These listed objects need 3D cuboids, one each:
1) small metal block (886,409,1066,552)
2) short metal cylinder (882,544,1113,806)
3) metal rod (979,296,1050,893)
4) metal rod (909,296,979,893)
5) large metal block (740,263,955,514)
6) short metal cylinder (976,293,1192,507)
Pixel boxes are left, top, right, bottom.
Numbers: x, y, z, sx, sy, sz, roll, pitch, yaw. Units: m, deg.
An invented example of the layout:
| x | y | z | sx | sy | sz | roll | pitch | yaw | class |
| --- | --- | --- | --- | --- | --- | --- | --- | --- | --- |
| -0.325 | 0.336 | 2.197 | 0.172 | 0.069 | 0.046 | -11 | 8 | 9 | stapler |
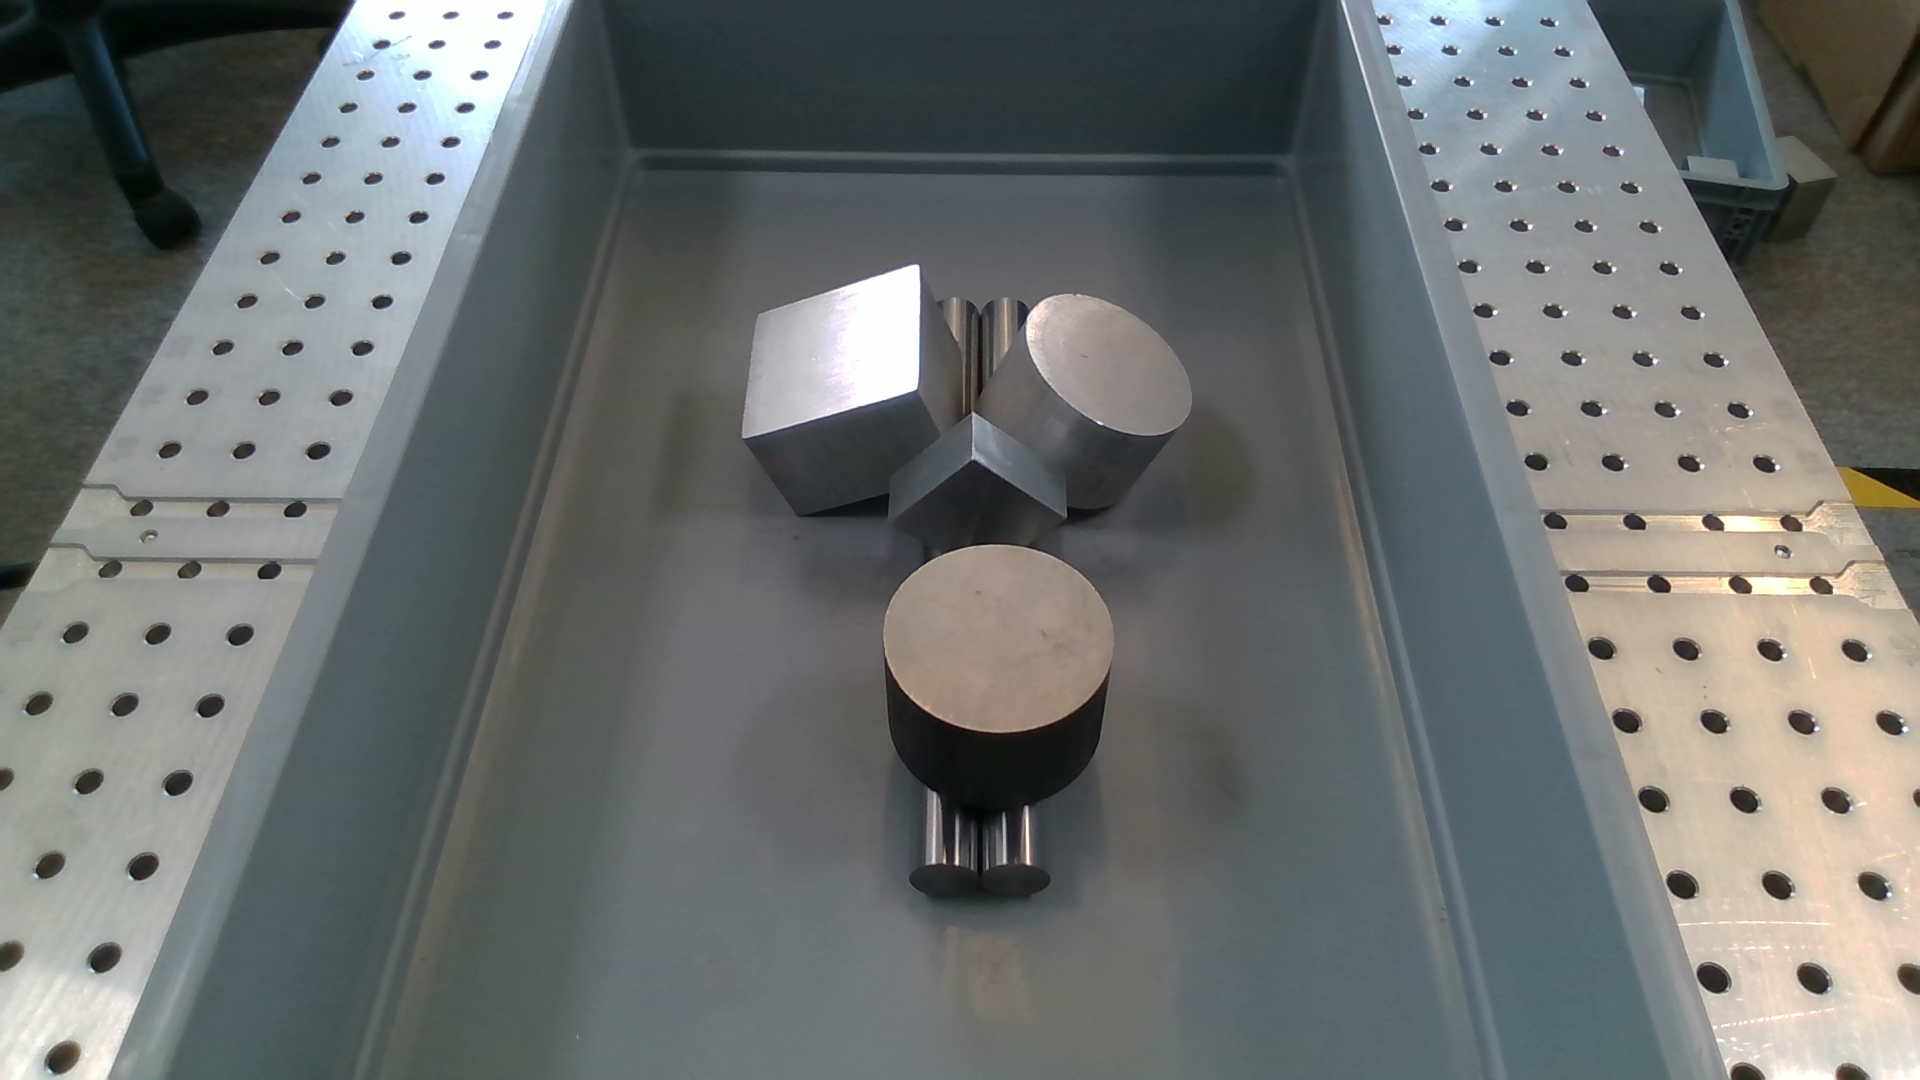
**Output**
| x | y | z | sx | sy | sz | roll | pitch | yaw | class |
| --- | --- | --- | --- | --- | --- | --- | --- | --- | --- |
| 0.006 | -0.018 | 0.548 | 0.050 | 0.050 | 0.025 | 30 | 42 | -31 | small metal block |
| 0.013 | 0.048 | 0.497 | 0.080 | 0.050 | 0.080 | 0 | 50 | 0 | short metal cylinder |
| 0.021 | 0.004 | 0.582 | 0.025 | 0.025 | 0.299 | 0 | 50 | 0 | metal rod |
| -0.004 | 0.004 | 0.582 | 0.025 | 0.025 | 0.299 | 0 | 50 | 0 | metal rod |
| -0.046 | -0.067 | 0.607 | 0.080 | 0.050 | 0.080 | -14 | 49 | 15 | large metal block |
| 0.054 | -0.061 | 0.602 | 0.080 | 0.050 | 0.080 | 16 | 48 | -18 | short metal cylinder |
